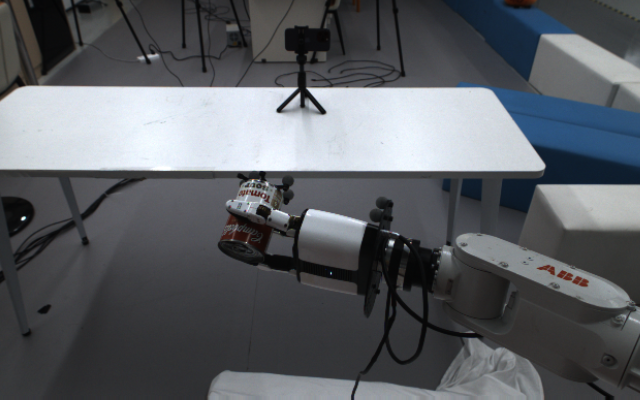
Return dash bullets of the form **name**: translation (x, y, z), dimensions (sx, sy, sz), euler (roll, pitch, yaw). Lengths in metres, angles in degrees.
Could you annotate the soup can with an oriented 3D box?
- **soup can**: translation (-0.096, 0.030, 0.689), dimensions (0.067, 0.067, 0.101), euler (9, 60, 10)
